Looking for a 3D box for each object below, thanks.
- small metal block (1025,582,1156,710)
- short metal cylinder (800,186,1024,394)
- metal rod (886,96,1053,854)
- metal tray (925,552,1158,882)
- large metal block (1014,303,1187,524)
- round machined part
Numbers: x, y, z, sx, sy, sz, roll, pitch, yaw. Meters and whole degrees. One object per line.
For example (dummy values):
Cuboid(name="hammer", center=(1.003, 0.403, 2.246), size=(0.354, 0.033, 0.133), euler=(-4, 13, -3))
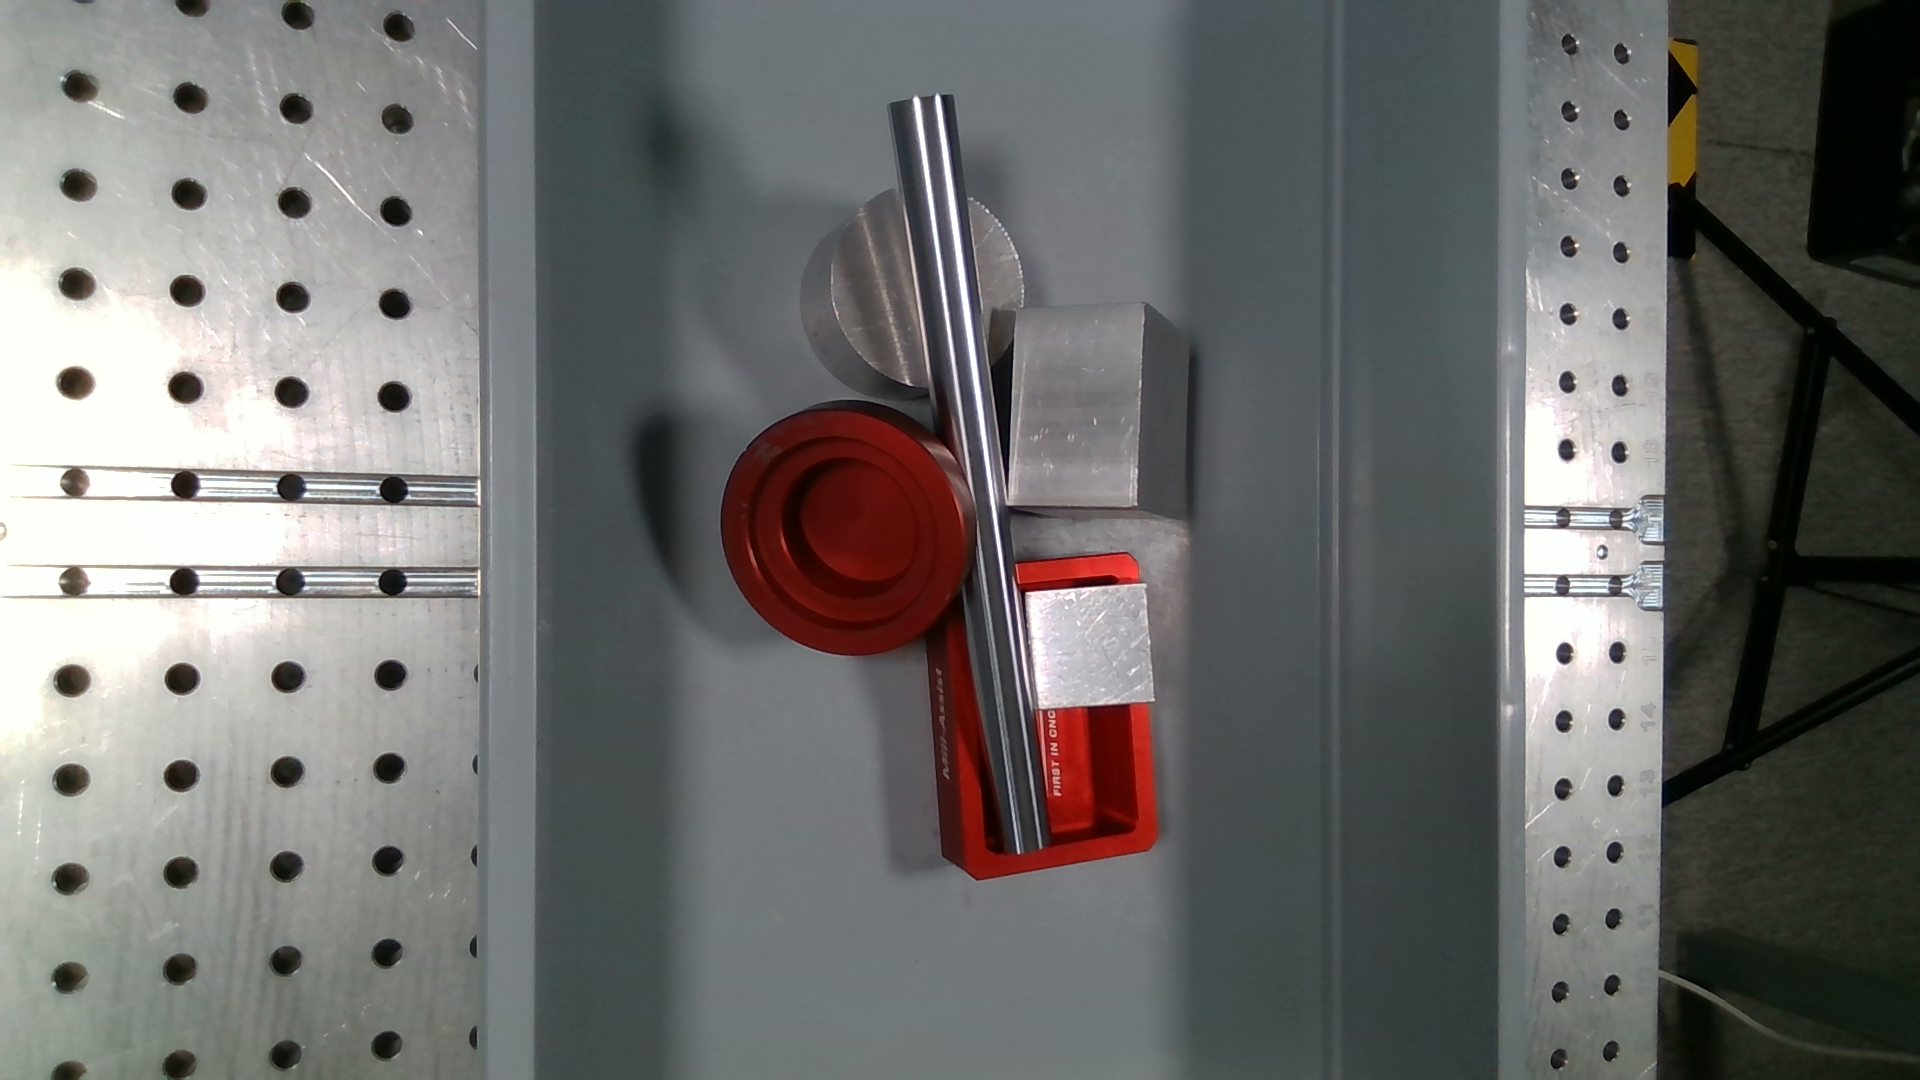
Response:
Cuboid(name="small metal block", center=(0.055, 0.044, 0.583), size=(0.050, 0.025, 0.050), euler=(-5, 92, 6))
Cuboid(name="short metal cylinder", center=(-0.020, -0.100, 0.562), size=(0.080, 0.050, 0.080), euler=(0, 90, -20))
Cuboid(name="metal rod", center=(0.006, -0.017, 0.543), size=(0.025, 0.025, 0.300), euler=(-14, 106, -20))
Cuboid(name="metal tray", center=(0.034, 0.073, 0.594), size=(0.090, 0.030, 0.130), euler=(-5, 92, -20))
Cuboid(name="large metal block", center=(0.061, -0.049, 0.570), size=(0.050, 0.080, 0.080), euler=(1, 88, 22))
Cuboid(name="round machined part", center=(-0.041, -0.007, 0.543), size=(0.098, 0.042, 0.098), euler=(3, 105, 12))
